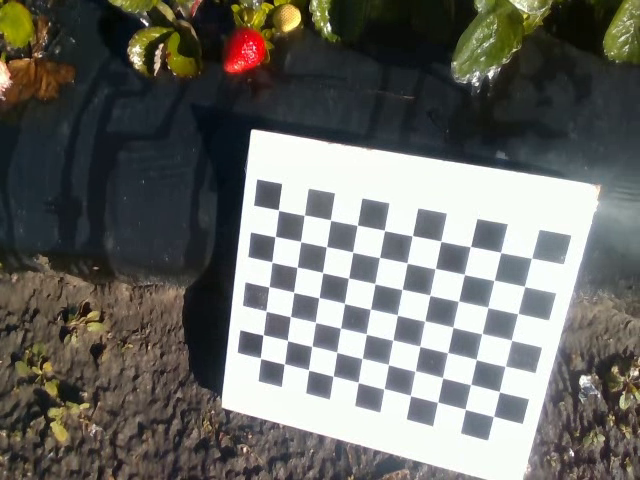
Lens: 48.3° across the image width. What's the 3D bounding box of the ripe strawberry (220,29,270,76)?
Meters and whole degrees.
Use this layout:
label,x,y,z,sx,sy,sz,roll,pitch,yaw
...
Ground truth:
label,x,y,z,sx,sy,sz,roll,pitch,yaw
ripe strawberry,-0.054,-0.123,0.485,0.039,0.040,0.039,4,39,26
